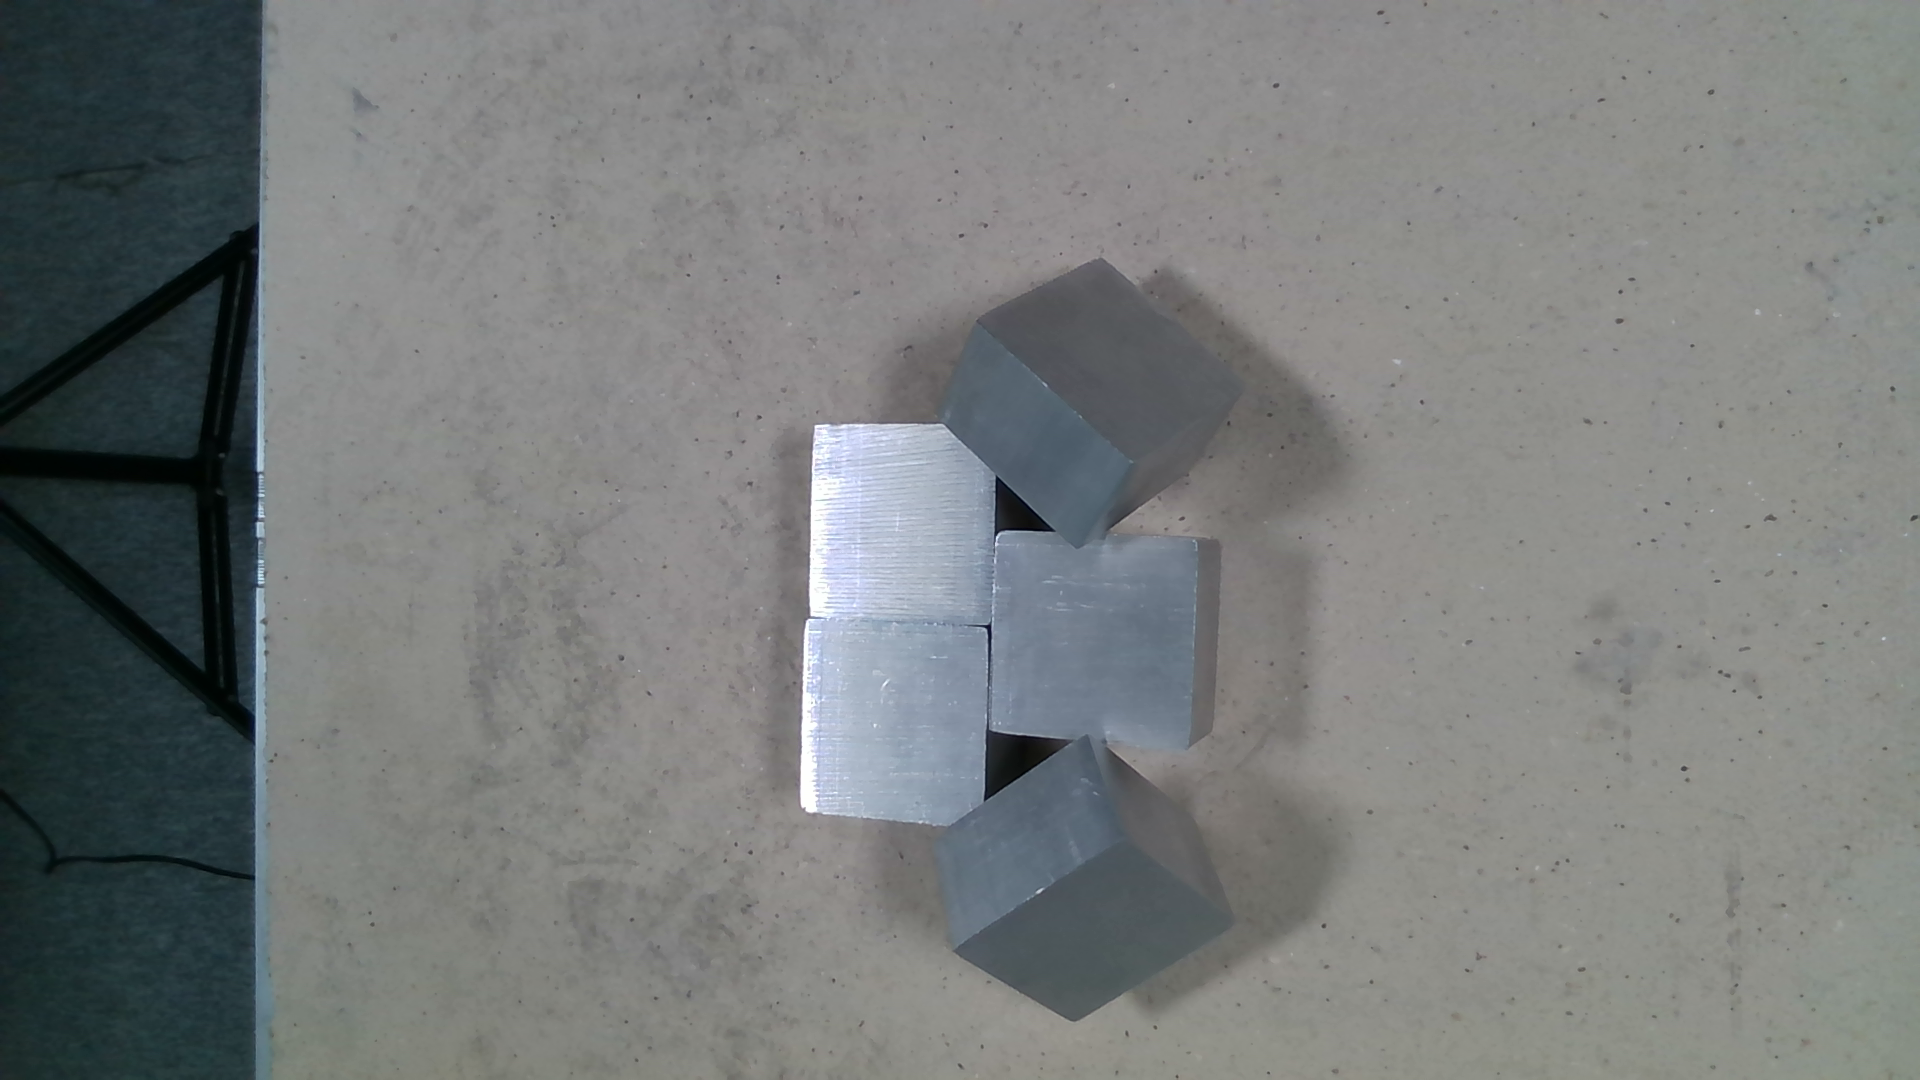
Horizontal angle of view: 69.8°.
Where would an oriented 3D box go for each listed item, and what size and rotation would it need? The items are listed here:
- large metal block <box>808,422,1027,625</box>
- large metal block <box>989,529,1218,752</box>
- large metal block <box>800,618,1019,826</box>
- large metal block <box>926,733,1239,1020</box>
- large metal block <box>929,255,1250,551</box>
[{"bbox_3d":[-0.016,-0.008,0.578,0.080,0.050,0.080,1,91,20],"label":"large metal block"},{"bbox_3d":[0.059,0.037,0.551,0.080,0.050,0.080,3,91,20],"label":"large metal block"},{"bbox_3d":[-0.019,0.073,0.578,0.080,0.050,0.080,1,91,20],"label":"large metal block"},{"bbox_3d":[0.047,0.132,0.534,0.080,0.080,0.050,-37,38,17],"label":"large metal block"},{"bbox_3d":[0.050,-0.055,0.530,0.080,0.080,0.050,44,139,15],"label":"large metal block"}]
